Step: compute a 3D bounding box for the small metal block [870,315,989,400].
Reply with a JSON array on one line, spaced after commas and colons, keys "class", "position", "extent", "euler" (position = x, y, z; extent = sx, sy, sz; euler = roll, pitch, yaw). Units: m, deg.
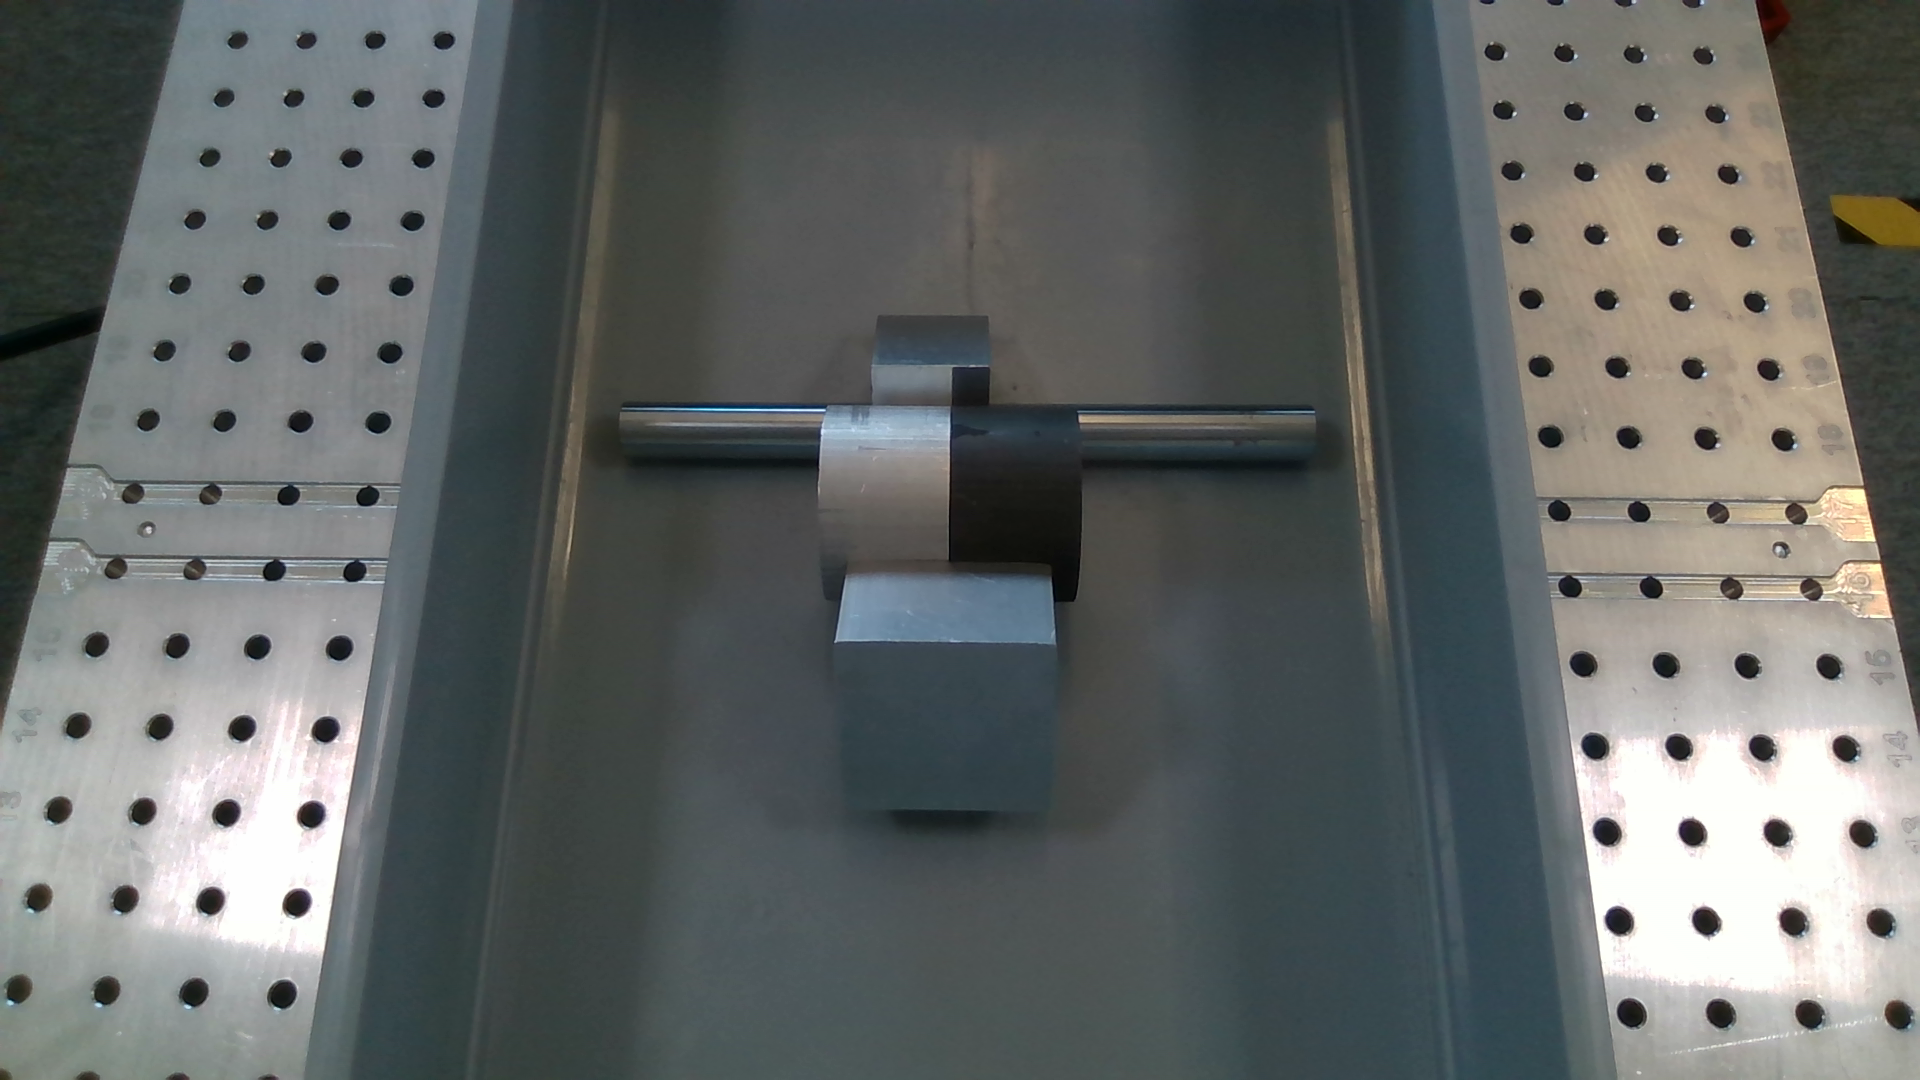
[{"class": "small metal block", "position": [-0.013, -0.076, 0.602], "extent": [0.050, 0.025, 0.050], "euler": [1, 35, -1]}]

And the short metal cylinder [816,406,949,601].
[{"class": "short metal cylinder", "position": [-0.029, -0.015, 0.563], "extent": [0.050, 0.080, 0.080], "euler": [0, 70, 0]}]

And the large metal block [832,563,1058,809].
[{"class": "large metal block", "position": [-0.005, 0.056, 0.530], "extent": [0.080, 0.080, 0.050], "euler": [0, 32, 1]}]

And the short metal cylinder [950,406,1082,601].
[{"class": "short metal cylinder", "position": [0.021, -0.015, 0.563], "extent": [0.050, 0.080, 0.080], "euler": [0, 70, 0]}]

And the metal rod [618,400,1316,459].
[{"class": "metal rod", "position": [0.003, -0.048, 0.604], "extent": [0.300, 0.025, 0.025], "euler": [0, 70, 0]}]
